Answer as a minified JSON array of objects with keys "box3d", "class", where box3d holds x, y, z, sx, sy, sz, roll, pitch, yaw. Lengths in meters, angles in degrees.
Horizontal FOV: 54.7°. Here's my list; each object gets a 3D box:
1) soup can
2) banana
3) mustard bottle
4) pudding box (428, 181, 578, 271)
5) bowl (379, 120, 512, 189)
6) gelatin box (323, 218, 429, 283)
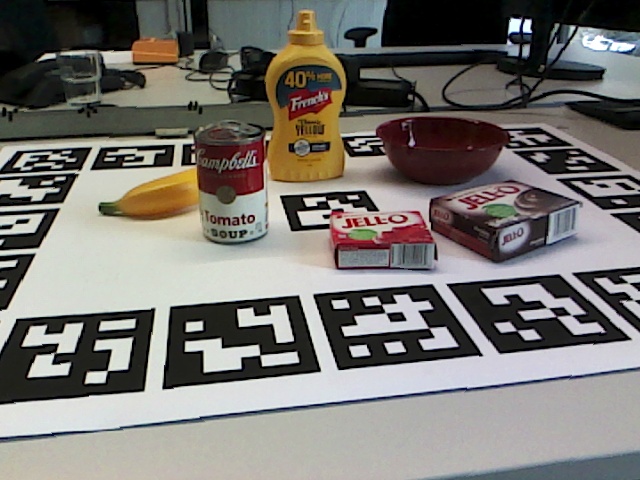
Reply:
[{"box3d":[-0.094,-0.060,0.601,0.068,0.102,0.068,2,24,-1],"class":"soup can"},{"box3d":[-0.155,-0.071,0.712,0.075,0.039,0.196,6,25,34],"class":"banana"},{"box3d":[-0.015,-0.176,0.731,0.096,0.191,0.058,-3,24,-9],"class":"mustard bottle"},{"box3d":[0.178,-0.017,0.610,0.113,0.038,0.090,-16,36,-30],"class":"pudding box"},{"box3d":[0.154,-0.105,0.776,0.161,0.055,0.162,-1,26,0],"class":"bowl"},{"box3d":[0.049,0.008,0.567,0.089,0.030,0.073,-1,29,-2],"class":"gelatin box"}]
